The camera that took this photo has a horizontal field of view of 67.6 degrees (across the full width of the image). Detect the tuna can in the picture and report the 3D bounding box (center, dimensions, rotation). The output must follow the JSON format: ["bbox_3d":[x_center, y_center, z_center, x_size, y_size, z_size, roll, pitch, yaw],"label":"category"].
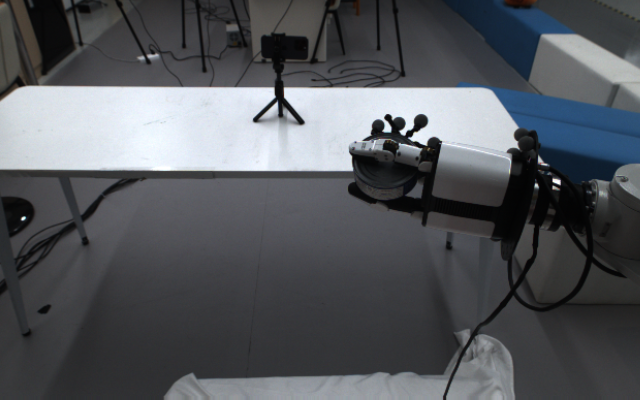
[{"bbox_3d":[0.085,-0.045,0.619,0.085,0.034,0.085,-4,56,6],"label":"tuna can"}]
